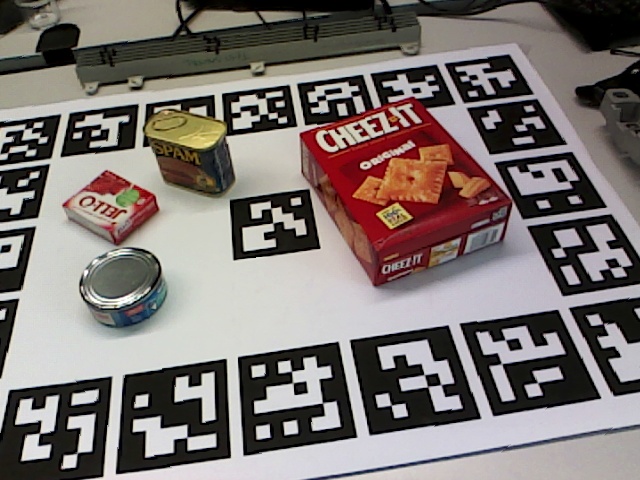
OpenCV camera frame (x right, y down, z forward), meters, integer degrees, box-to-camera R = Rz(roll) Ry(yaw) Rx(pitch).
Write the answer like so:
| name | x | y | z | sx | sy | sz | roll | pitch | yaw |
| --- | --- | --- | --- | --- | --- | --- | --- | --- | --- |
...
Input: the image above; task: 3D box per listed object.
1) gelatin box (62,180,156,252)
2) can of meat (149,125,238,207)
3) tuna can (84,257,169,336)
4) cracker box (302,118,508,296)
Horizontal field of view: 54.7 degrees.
| name | x | y | z | sx | sy | sz | roll | pitch | yaw |
| --- | --- | --- | --- | --- | --- | --- | --- | --- | --- |
| gelatin box | -0.264 | -0.033 | 0.781 | 0.090 | 0.030 | 0.073 | 26 | 51 | 23 |
| can of meat | -0.161 | -0.095 | 0.804 | 0.102 | 0.083 | 0.058 | 14 | 49 | 18 |
| tuna can | -0.211 | 0.062 | 0.681 | 0.086 | 0.033 | 0.086 | -3 | 50 | 3 |
| cracker box | 0.093 | -0.051 | 0.747 | 0.164 | 0.072 | 0.215 | -20 | 47 | -15 |
